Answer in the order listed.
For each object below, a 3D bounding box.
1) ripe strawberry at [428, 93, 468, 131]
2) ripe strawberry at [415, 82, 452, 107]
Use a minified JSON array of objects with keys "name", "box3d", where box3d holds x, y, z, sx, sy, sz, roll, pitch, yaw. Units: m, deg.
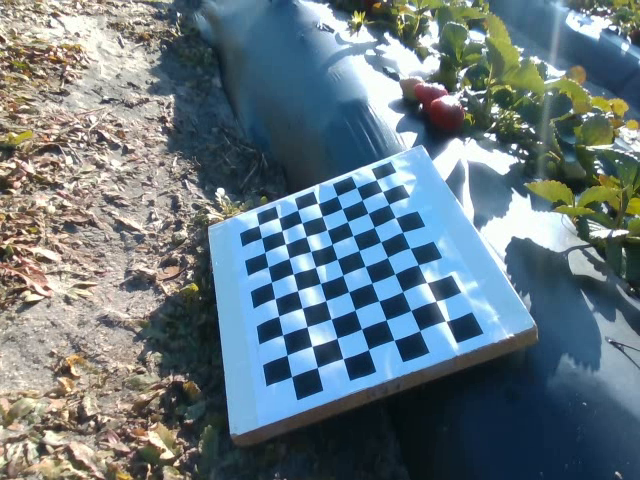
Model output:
[{"name":"ripe strawberry","box3d":[0.174,-0.169,0.847,0.056,0.052,0.067,9,-4,29]},{"name":"ripe strawberry","box3d":[0.162,-0.198,0.891,0.061,0.051,0.044,27,-42,-15]}]
